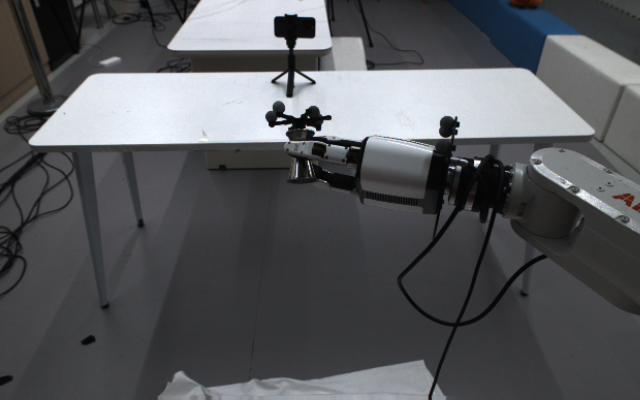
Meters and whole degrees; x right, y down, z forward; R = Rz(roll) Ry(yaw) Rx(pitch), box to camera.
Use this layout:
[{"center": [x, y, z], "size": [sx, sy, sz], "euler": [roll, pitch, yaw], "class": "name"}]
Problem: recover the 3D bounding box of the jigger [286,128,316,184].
[{"center": [-0.026, -0.060, 0.660], "size": [0.043, 0.071, 0.043], "euler": [-2, -7, 0], "class": "jigger"}]
